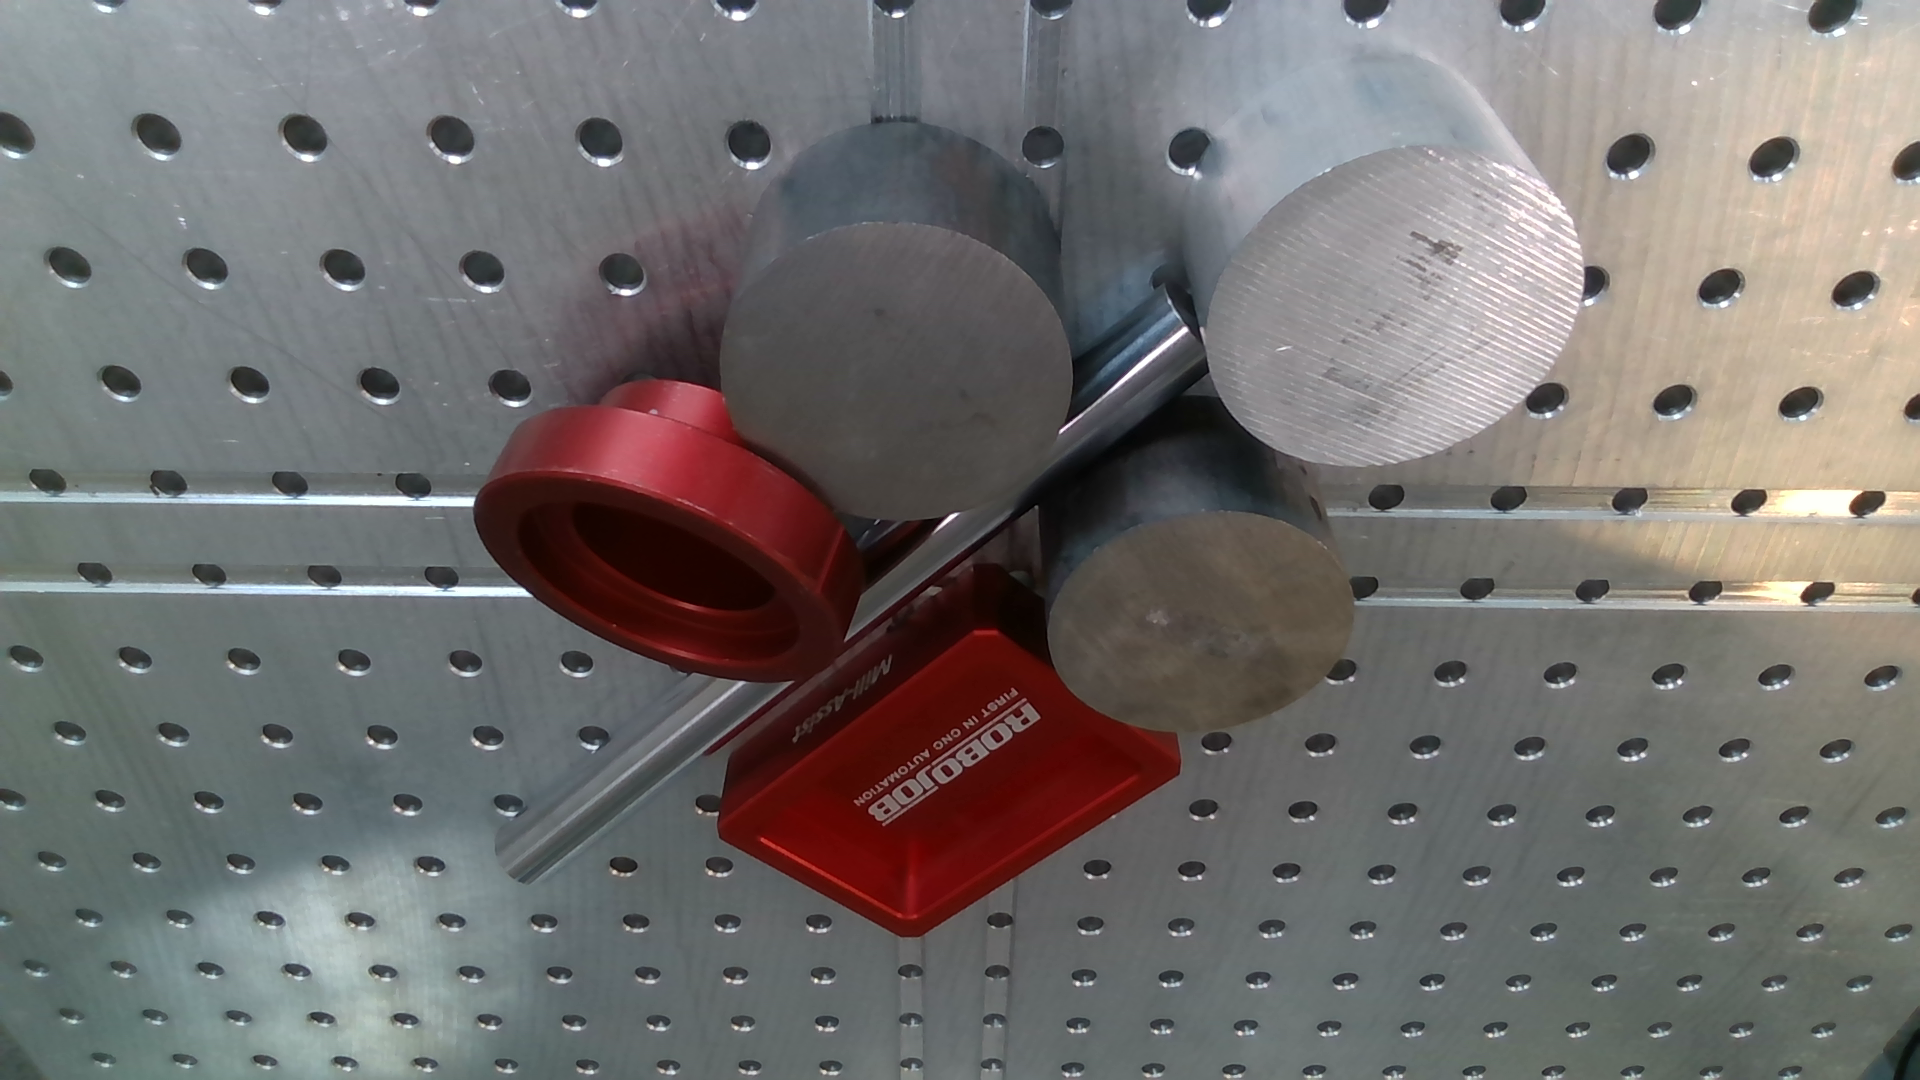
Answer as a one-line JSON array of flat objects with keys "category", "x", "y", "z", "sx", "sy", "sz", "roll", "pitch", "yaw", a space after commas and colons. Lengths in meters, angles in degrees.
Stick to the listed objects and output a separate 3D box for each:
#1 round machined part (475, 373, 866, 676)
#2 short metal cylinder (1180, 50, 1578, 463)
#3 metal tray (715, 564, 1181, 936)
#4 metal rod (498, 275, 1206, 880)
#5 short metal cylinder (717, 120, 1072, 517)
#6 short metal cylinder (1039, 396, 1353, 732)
[{"category": "round machined part", "x": -0.071, "y": -0.006, "z": 0.362, "sx": 0.098, "sy": 0.042, "sz": 0.098, "roll": 13, "pitch": 150, "yaw": 8}, {"category": "short metal cylinder", "x": 0.094, "y": -0.065, "z": 0.321, "sx": 0.080, "sy": 0.050, "sz": 0.080, "roll": 0, "pitch": 130, "yaw": 0}, {"category": "metal tray", "x": -0.005, "y": 0.073, "z": 0.450, "sx": 0.090, "sy": 0.030, "sz": 0.130, "roll": 36, "pitch": 121, "yaw": -26}, {"category": "metal rod", "x": -0.046, "y": 0.026, "z": 0.414, "sx": 0.025, "sy": 0.025, "sz": 0.301, "roll": 37, "pitch": 121, "yaw": -27}, {"category": "short metal cylinder", "x": -0.015, "y": -0.052, "z": 0.331, "sx": 0.080, "sy": 0.050, "sz": 0.080, "roll": 0, "pitch": 130, "yaw": 0}, {"category": "short metal cylinder", "x": 0.063, "y": 0.008, "z": 0.381, "sx": 0.080, "sy": 0.050, "sz": 0.080, "roll": 0, "pitch": 130, "yaw": 0}]
